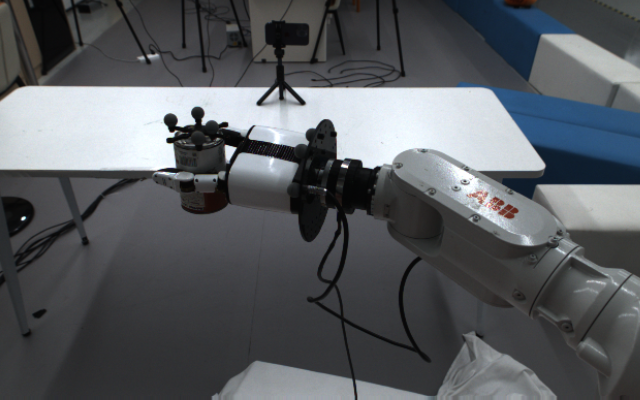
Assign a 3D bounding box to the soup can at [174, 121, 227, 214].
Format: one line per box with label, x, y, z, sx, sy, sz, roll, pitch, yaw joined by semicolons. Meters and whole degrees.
soup can;-0.160;-0.039;0.658;0.067;0.101;0.067;2;32;-1
